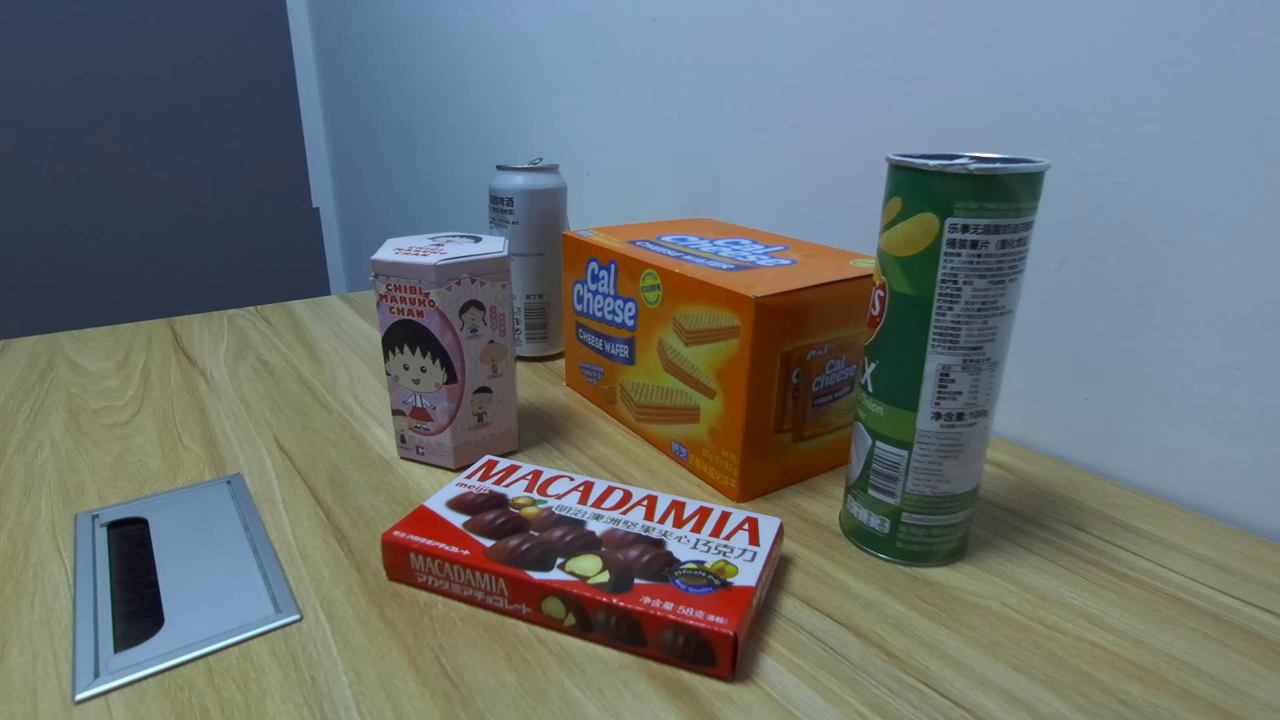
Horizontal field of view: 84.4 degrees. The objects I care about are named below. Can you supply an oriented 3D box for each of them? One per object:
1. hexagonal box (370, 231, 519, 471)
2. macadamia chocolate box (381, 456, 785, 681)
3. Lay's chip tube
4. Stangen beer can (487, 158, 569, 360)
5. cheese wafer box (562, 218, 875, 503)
[{"bbox_3d":[-0.123,-0.008,0.462,0.091,0.136,0.084,9,22,19],"label":"hexagonal box"},{"bbox_3d":[-0.026,0.094,0.354,0.177,0.027,0.096,9,22,20],"label":"macadamia chocolate box"},{"bbox_3d":[0.148,0.001,0.356,0.071,0.202,0.071,1,20,0],"label":"Lay's chip tube"},{"bbox_3d":[-0.097,-0.090,0.634,0.070,0.173,0.070,16,23,36],"label":"Stangen beer can"},{"bbox_3d":[0.059,-0.018,0.512,0.149,0.129,0.220,-13,25,-32],"label":"cheese wafer box"}]
